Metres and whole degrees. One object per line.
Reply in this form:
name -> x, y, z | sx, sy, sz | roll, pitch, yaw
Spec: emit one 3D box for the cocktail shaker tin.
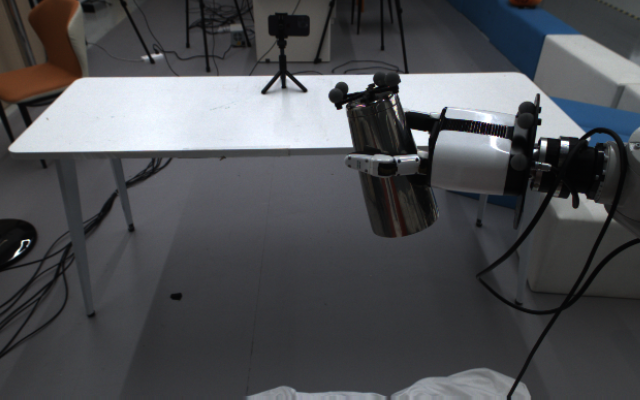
cocktail shaker tin -> 0.089, -0.048, 0.620 | 0.093, 0.170, 0.093 | -17, 20, 7
